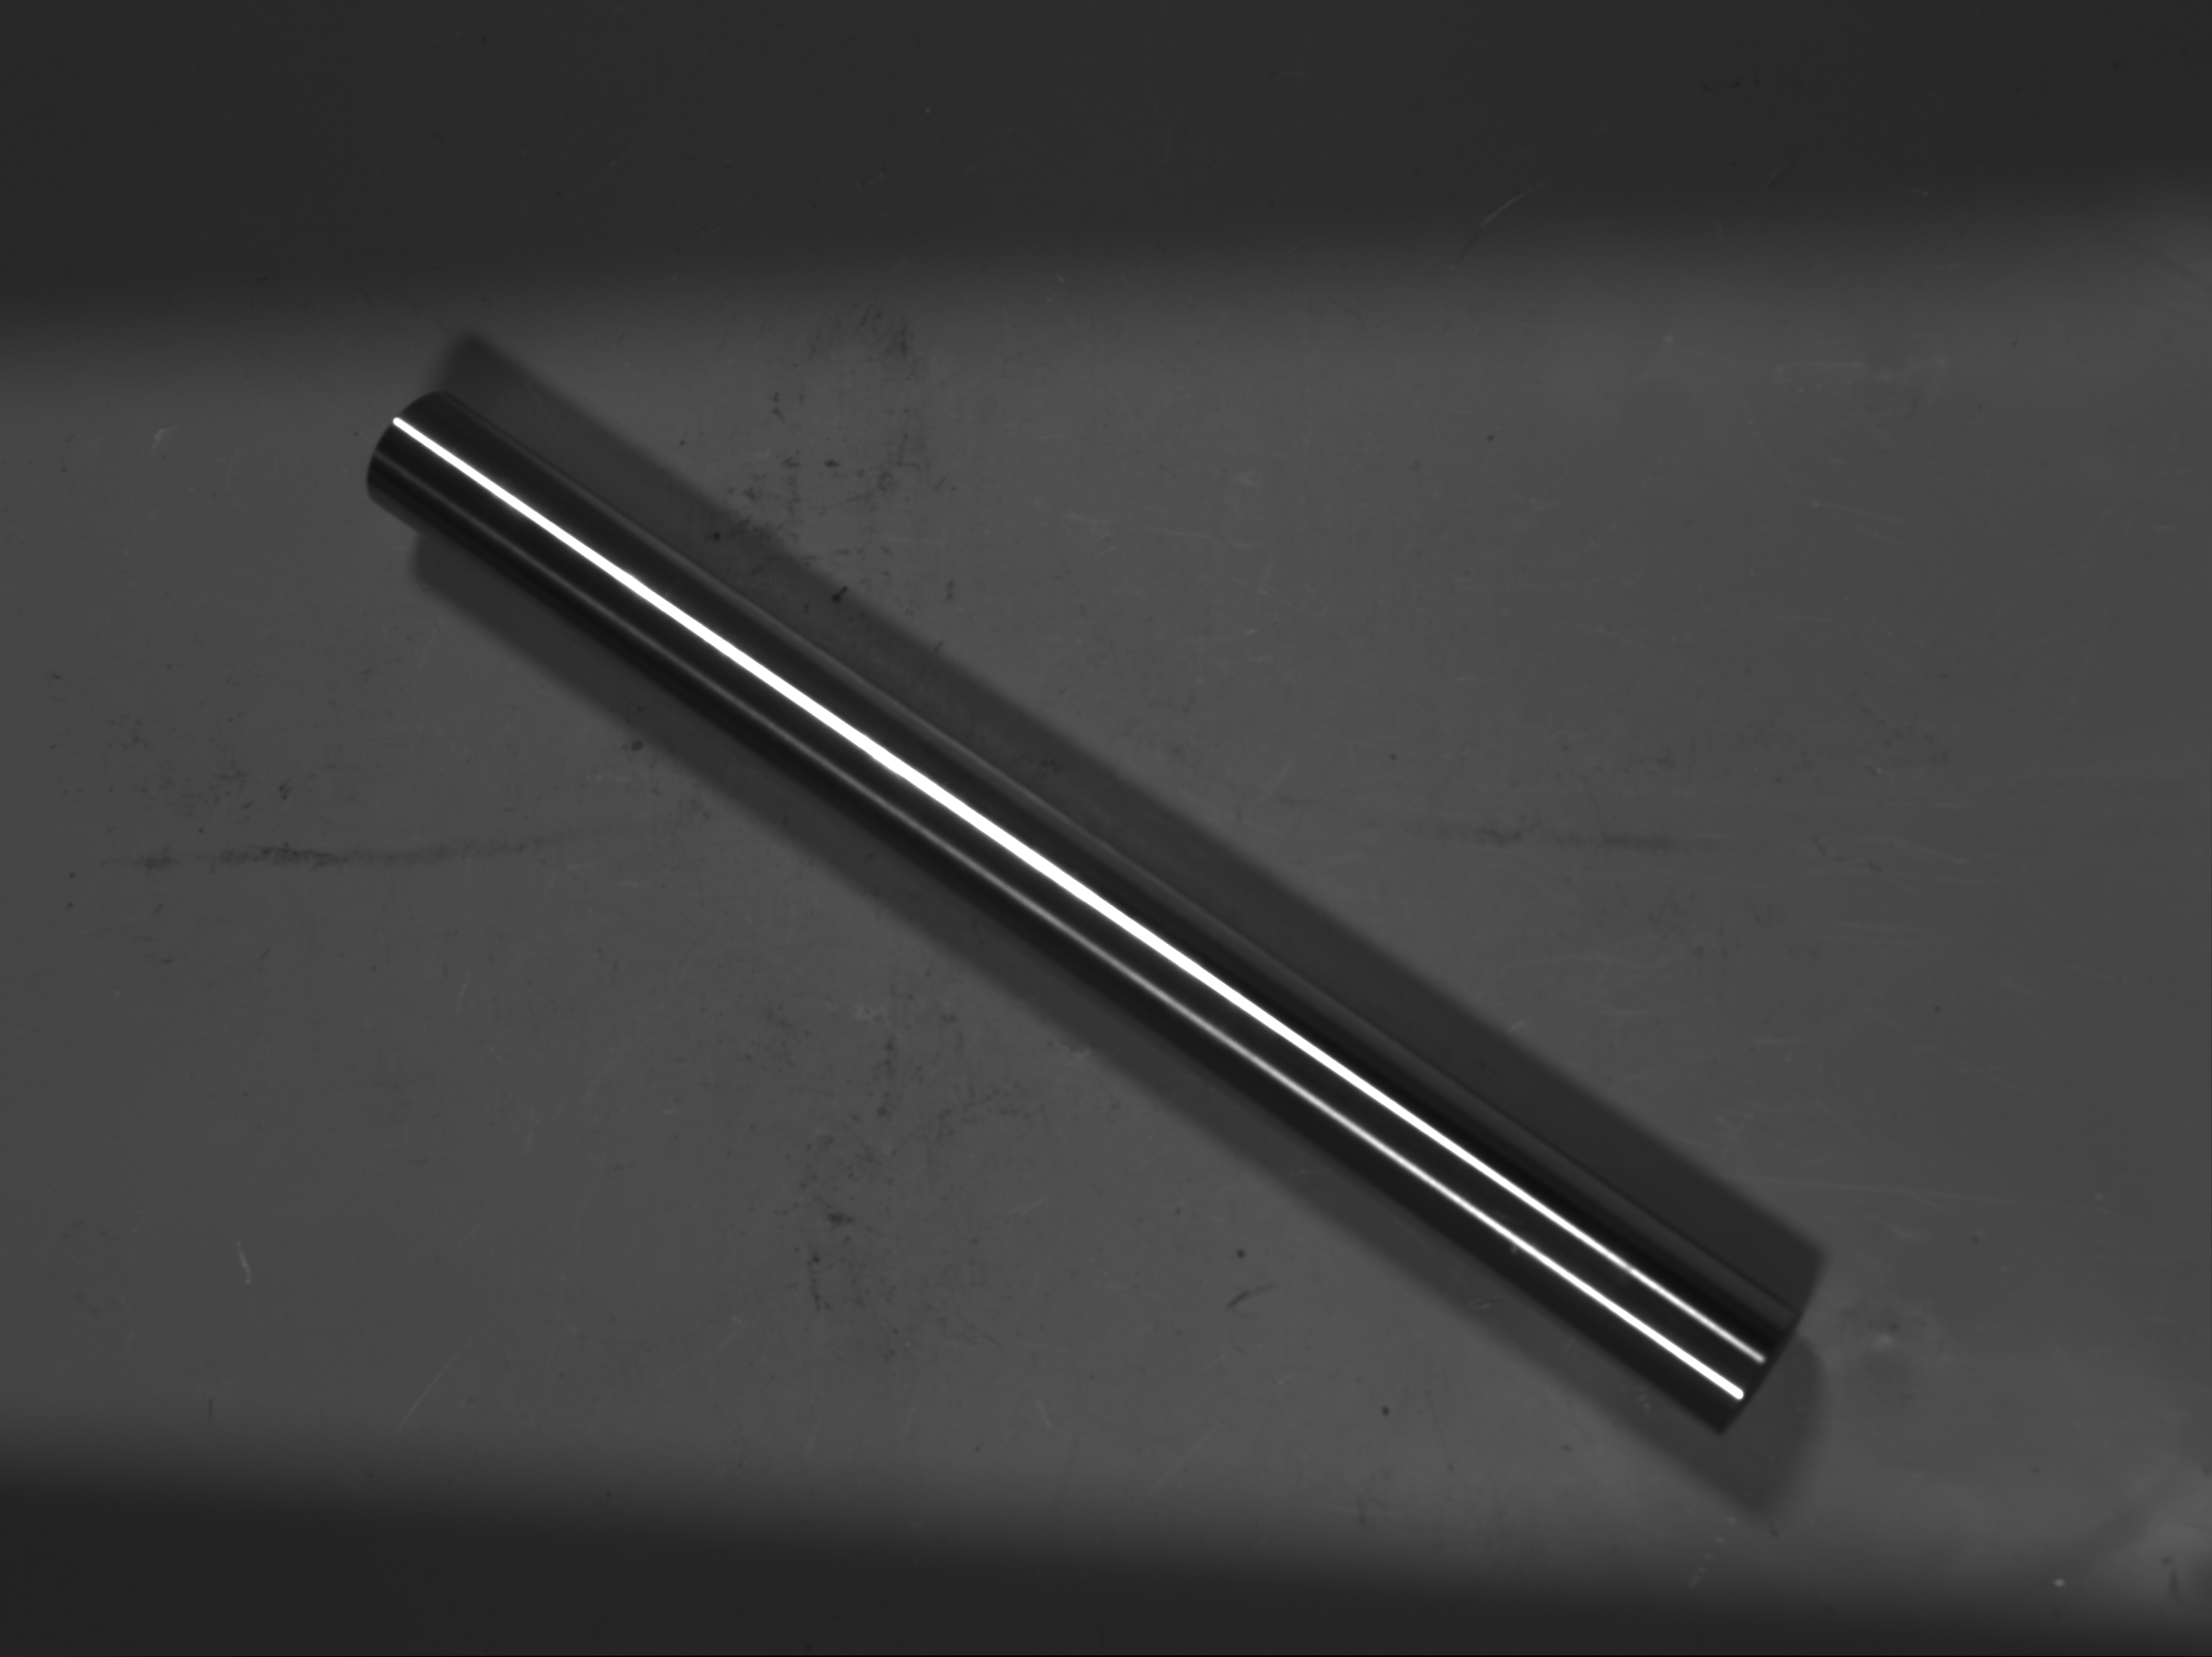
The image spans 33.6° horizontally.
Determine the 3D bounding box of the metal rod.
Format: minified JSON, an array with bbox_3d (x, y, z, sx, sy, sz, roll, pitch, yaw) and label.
[{"bbox_3d":[-0.008,0.010,0.645,0.300,0.025,0.025,34,101,16],"label":"metal rod"}]
